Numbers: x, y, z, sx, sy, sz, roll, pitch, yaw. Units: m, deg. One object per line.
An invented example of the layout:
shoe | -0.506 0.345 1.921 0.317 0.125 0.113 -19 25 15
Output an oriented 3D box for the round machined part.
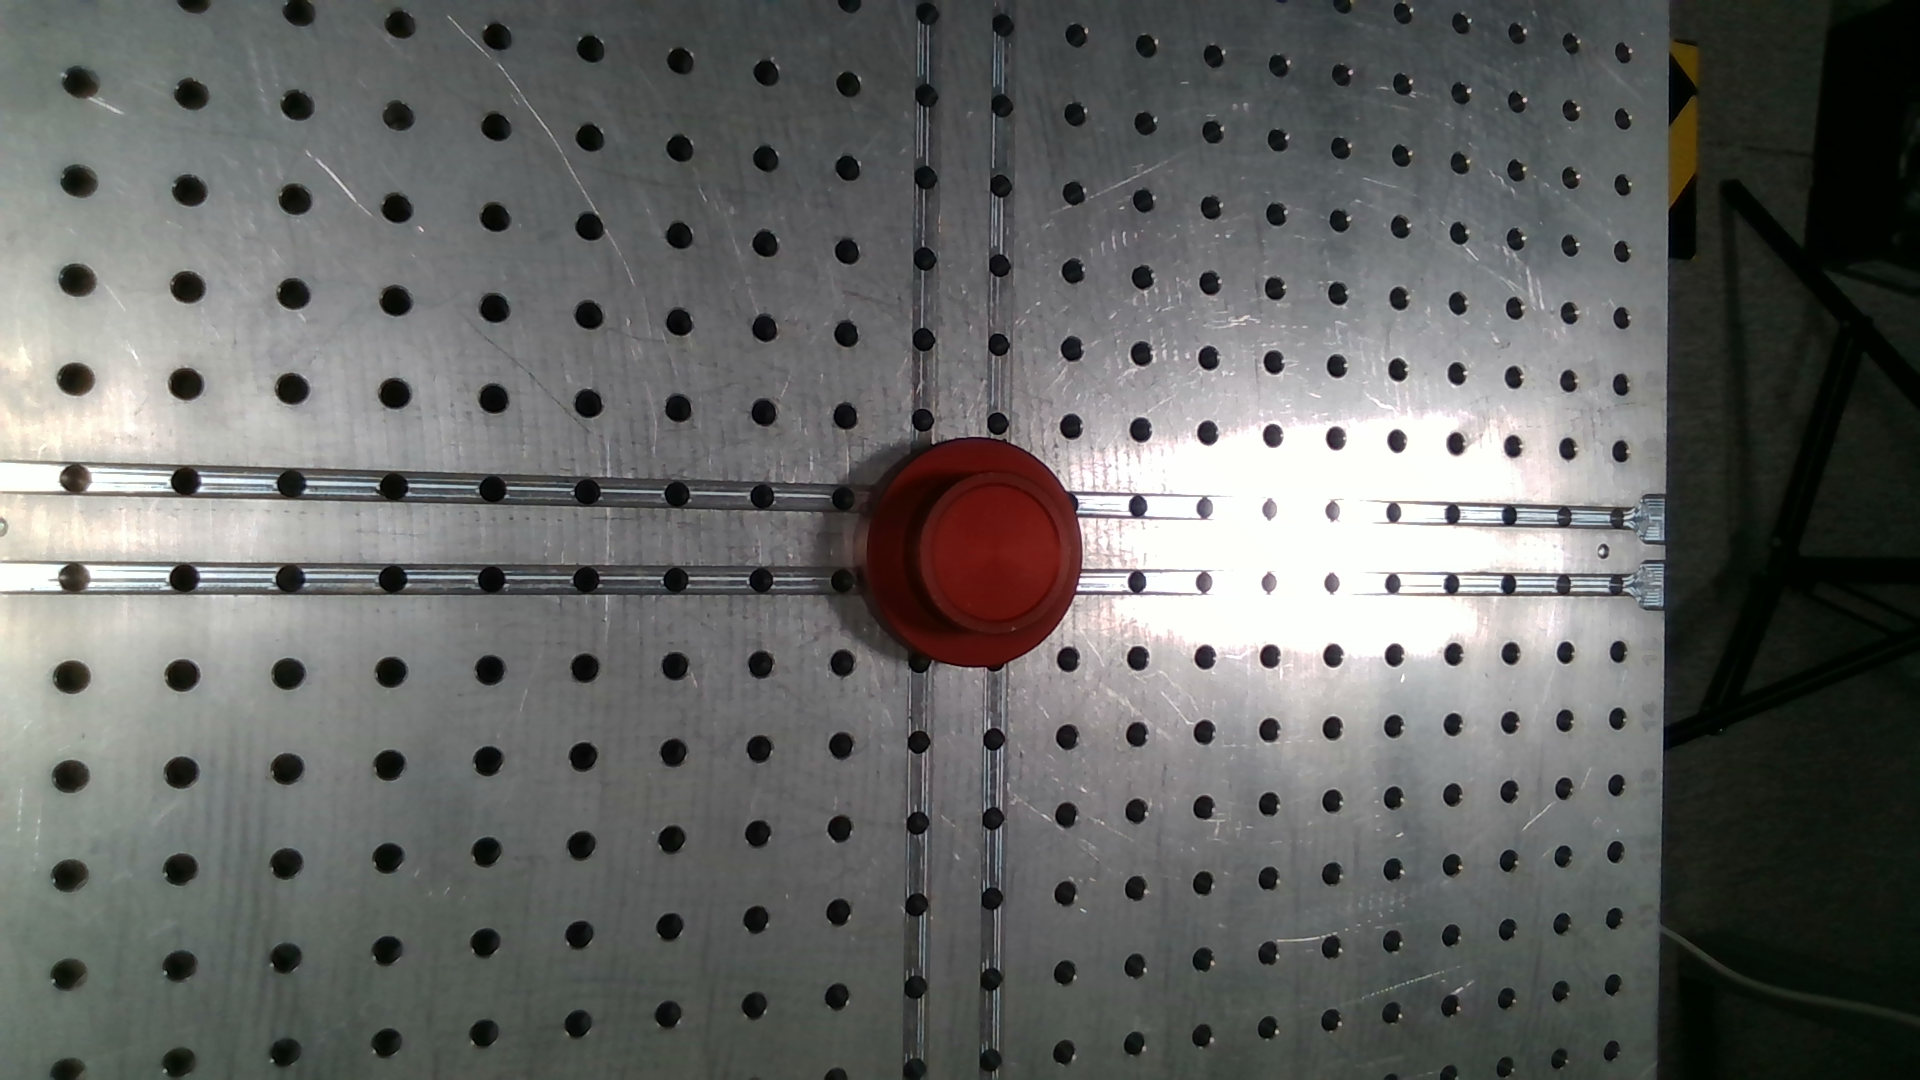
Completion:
round machined part | 0.008 0.005 0.582 0.098 0.042 0.098 0 90 -20
